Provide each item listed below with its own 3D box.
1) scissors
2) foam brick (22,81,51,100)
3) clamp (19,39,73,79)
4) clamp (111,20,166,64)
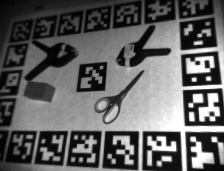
[{"bbox_3d":[0.006,0.023,0.663,0.087,0.016,0.203,39,86,17],"label":"scissors"},{"bbox_3d":[-0.262,0.018,0.742,0.077,0.052,0.052,3,75,25],"label":"foam brick"},{"bbox_3d":[-0.238,-0.111,0.782,0.201,0.037,0.165,-7,68,16],"label":"clamp"},{"bbox_3d":[0.071,-0.120,0.685,0.165,0.037,0.121,-30,73,8],"label":"clamp"}]
